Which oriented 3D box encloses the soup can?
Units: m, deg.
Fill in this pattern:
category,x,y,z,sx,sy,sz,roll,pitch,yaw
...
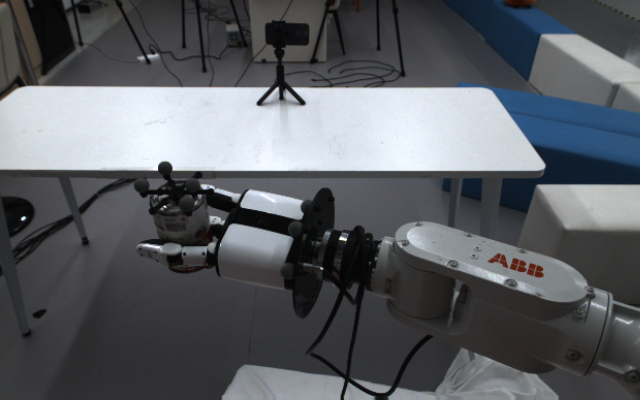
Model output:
category,x,y,z,sx,sy,sz,roll,pitch,yaw
soup can,-0.171,0.036,0.614,0.067,0.101,0.067,1,39,-1
